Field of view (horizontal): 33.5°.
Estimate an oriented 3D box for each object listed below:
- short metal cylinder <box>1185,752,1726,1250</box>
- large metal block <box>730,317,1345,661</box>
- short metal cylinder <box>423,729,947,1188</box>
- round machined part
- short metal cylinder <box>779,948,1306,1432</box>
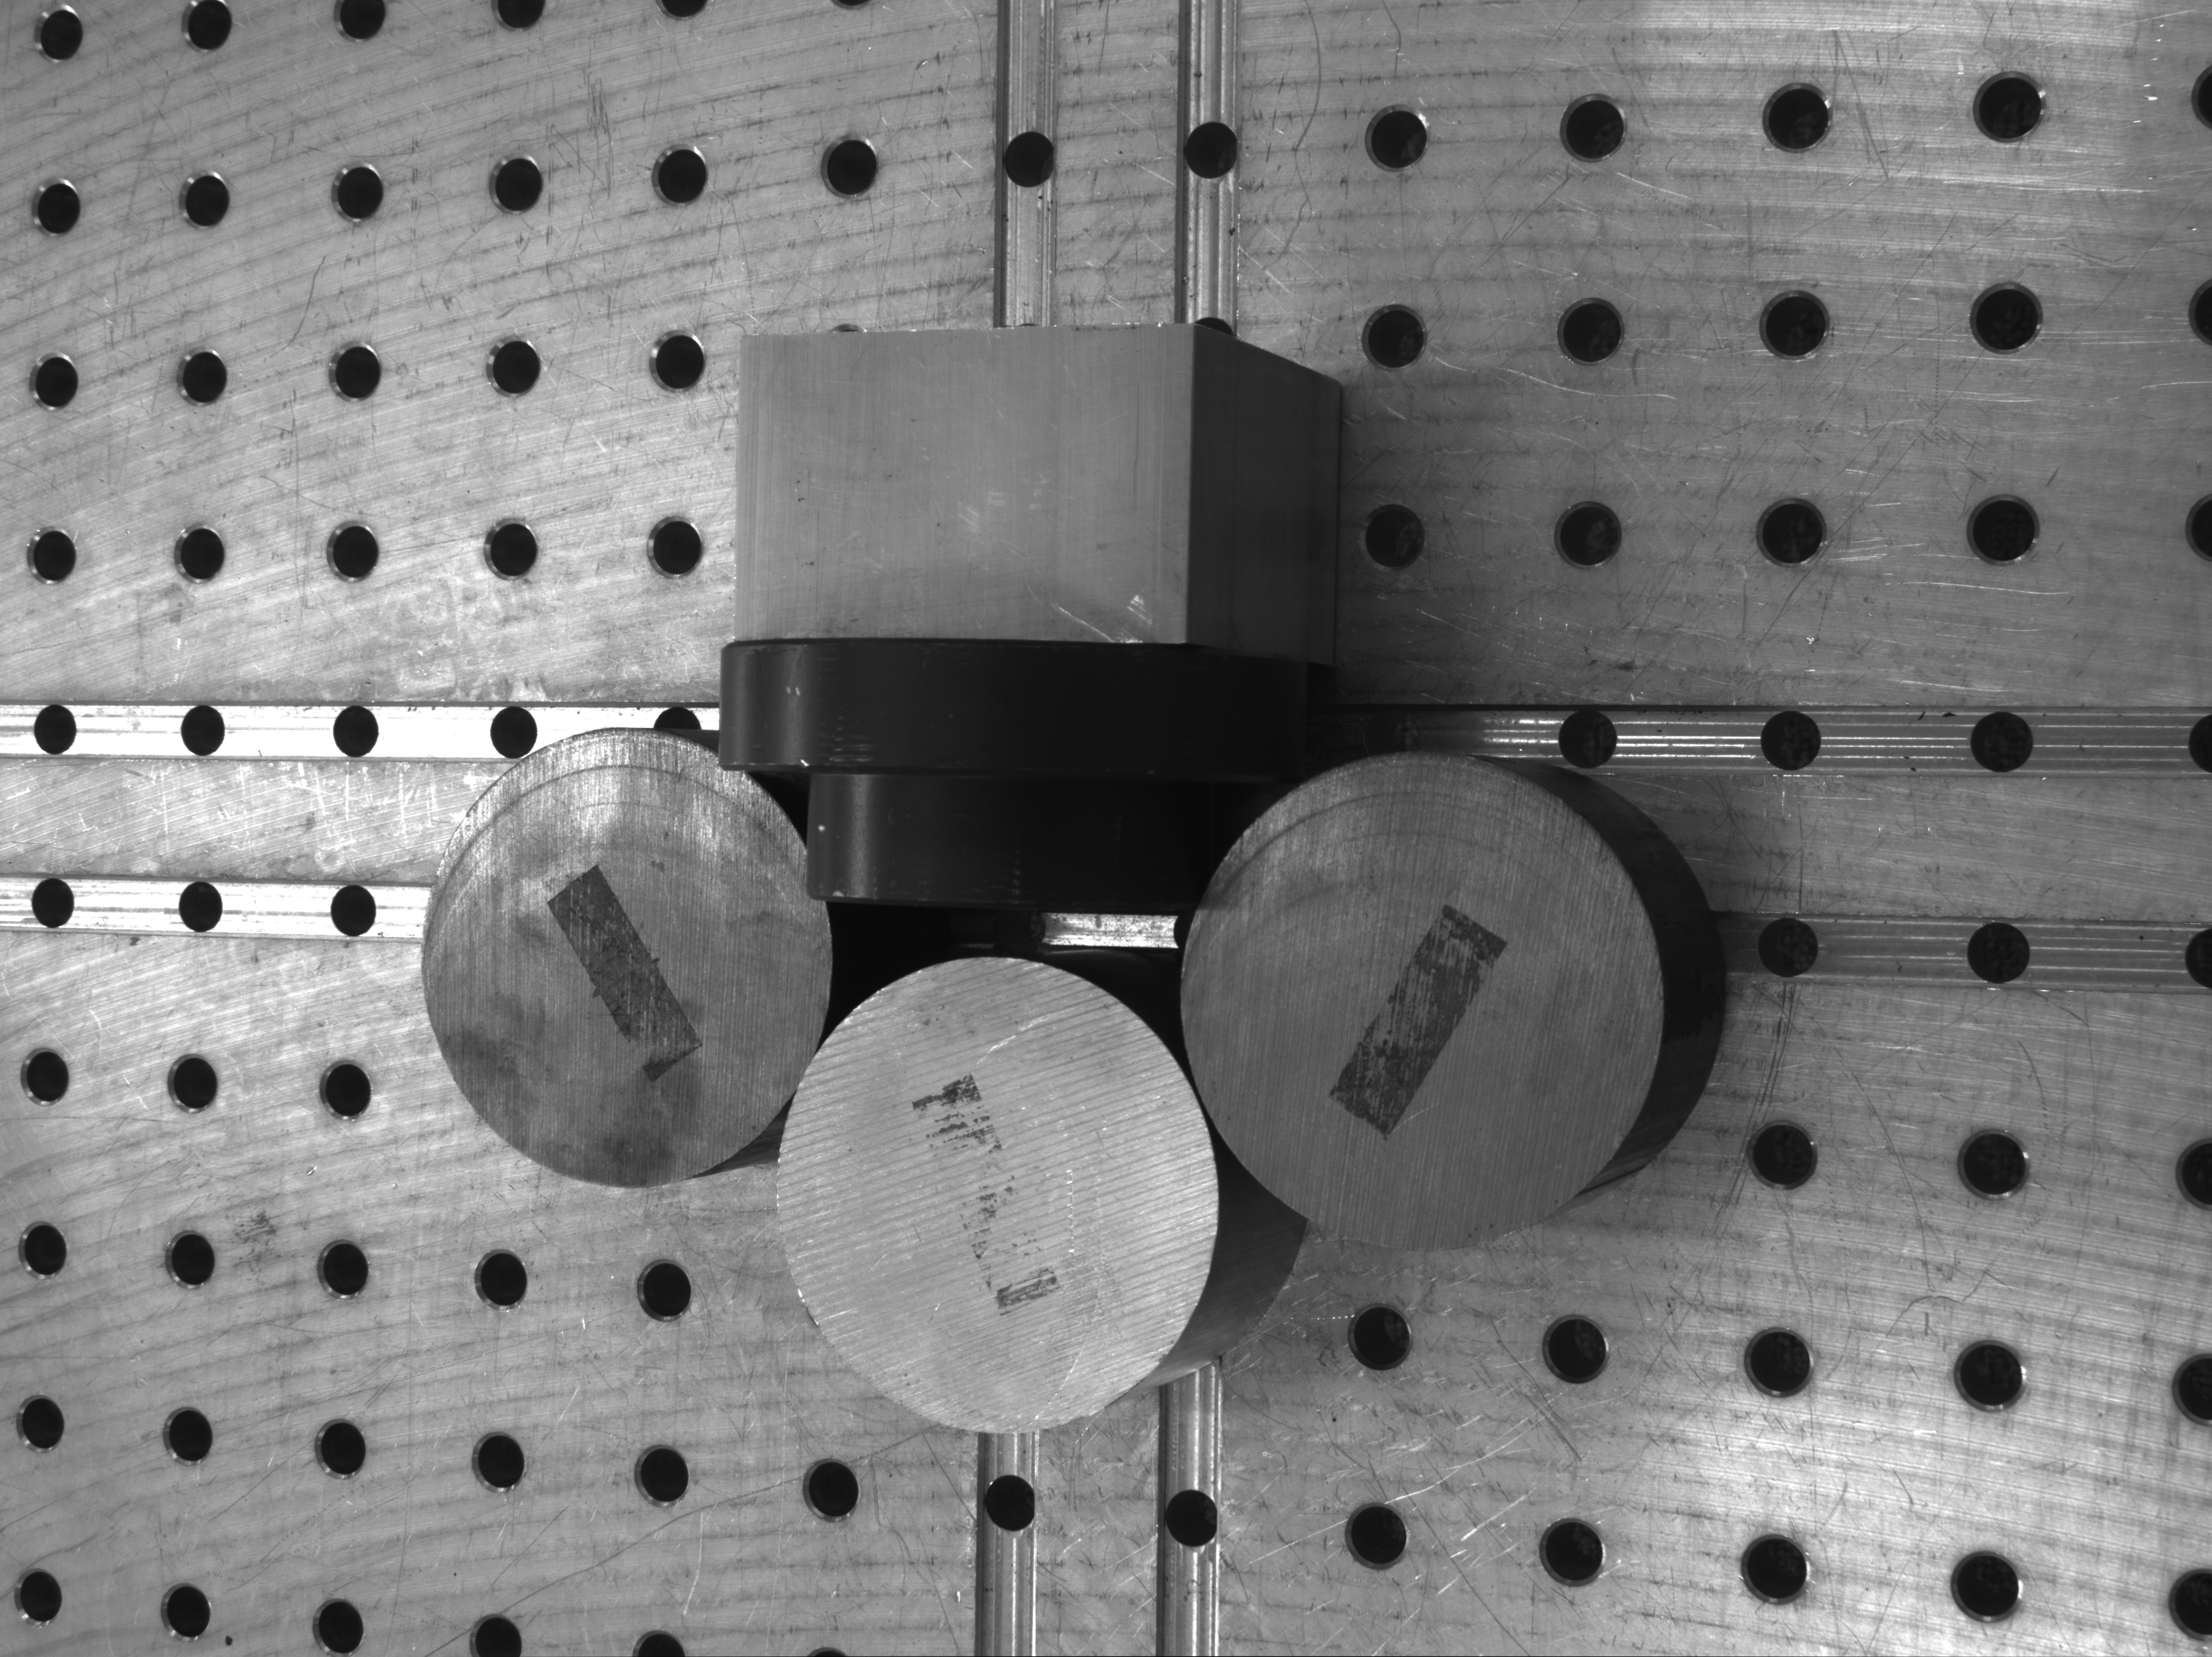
[{"bbox_3d":[0.059,0.028,0.615,0.080,0.050,0.080,0,90,20],"label":"short metal cylinder"},{"bbox_3d":[-0.010,-0.055,0.623,0.080,0.080,0.050,1,90,20],"label":"large metal block"},{"bbox_3d":[-0.075,0.023,0.664,0.080,0.050,0.080,0,90,20],"label":"short metal cylinder"},{"bbox_3d":[-0.016,-0.008,0.615,0.098,0.098,0.042,2,90,20],"label":"round machined part"},{"bbox_3d":[-0.010,0.061,0.640,0.080,0.050,0.080,0,90,20],"label":"short metal cylinder"}]
